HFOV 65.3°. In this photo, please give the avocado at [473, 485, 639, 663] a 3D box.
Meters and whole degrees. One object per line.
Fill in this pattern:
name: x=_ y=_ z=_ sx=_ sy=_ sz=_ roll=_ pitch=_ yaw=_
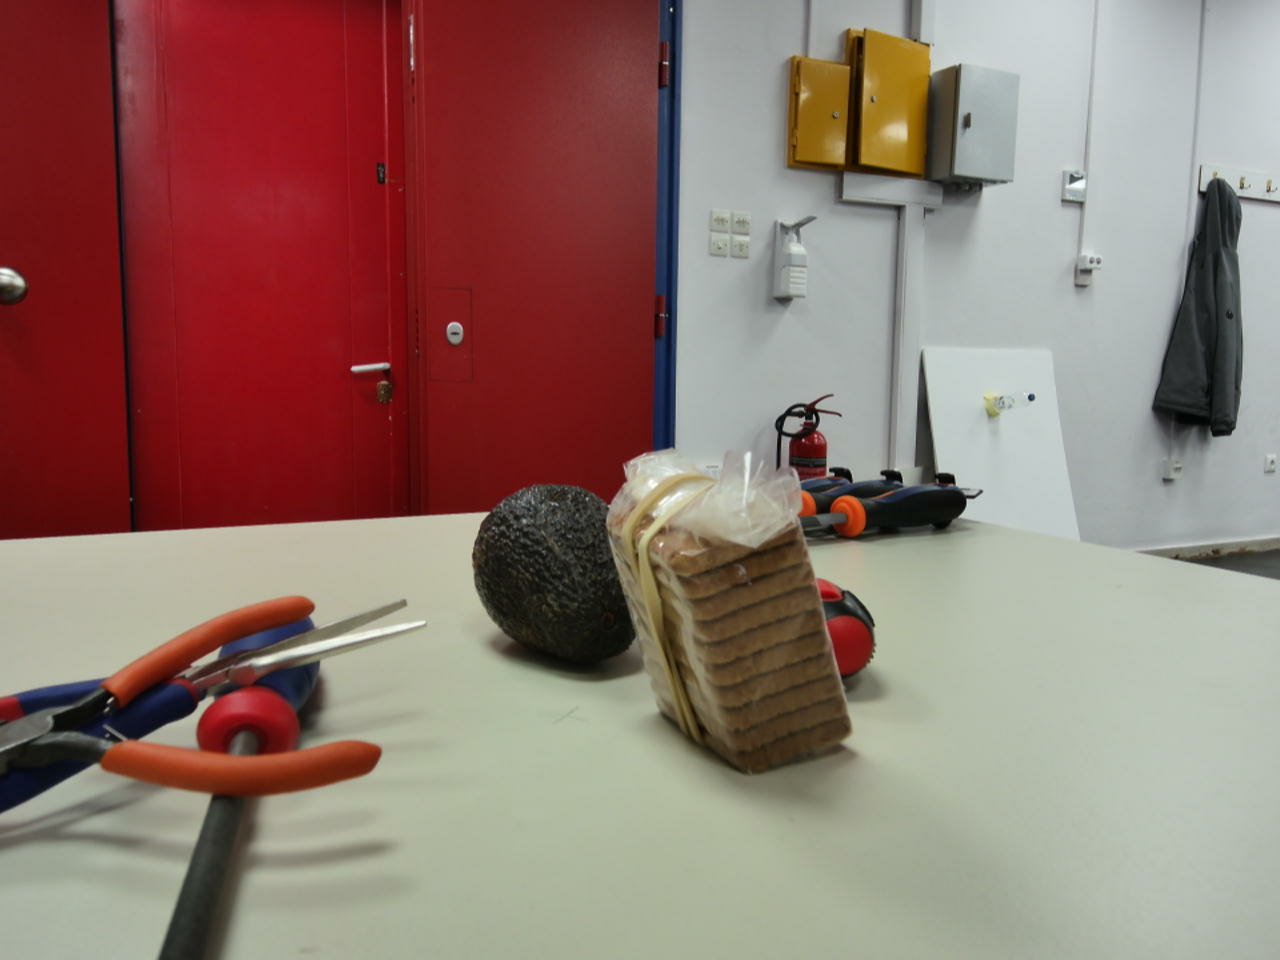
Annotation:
avocado: x=-0.036 y=0.037 z=0.417 sx=0.070 sy=0.069 sz=0.090 roll=0 pitch=4 yaw=-1
